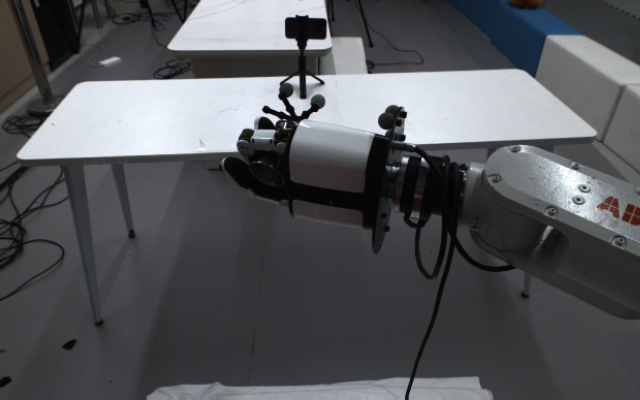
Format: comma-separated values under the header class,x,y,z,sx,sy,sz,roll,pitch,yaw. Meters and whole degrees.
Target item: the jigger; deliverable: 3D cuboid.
class,x,y,z,sx,sy,sz,roll,pitch,yaw
jigger,-0.045,-0.057,0.555,0.043,0.043,0.071,15,58,18
